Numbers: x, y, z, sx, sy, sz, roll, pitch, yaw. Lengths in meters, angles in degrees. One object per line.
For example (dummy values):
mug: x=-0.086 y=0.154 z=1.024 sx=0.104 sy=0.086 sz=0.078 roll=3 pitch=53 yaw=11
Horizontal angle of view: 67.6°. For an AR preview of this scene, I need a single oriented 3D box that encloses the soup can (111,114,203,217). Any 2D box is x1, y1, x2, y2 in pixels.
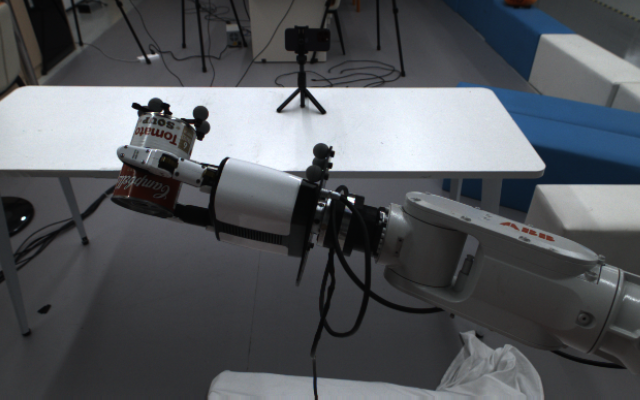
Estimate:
soup can: x=-0.184 y=-0.037 z=0.544 sx=0.067 sy=0.067 sz=0.101 roll=8 pitch=74 yaw=9
